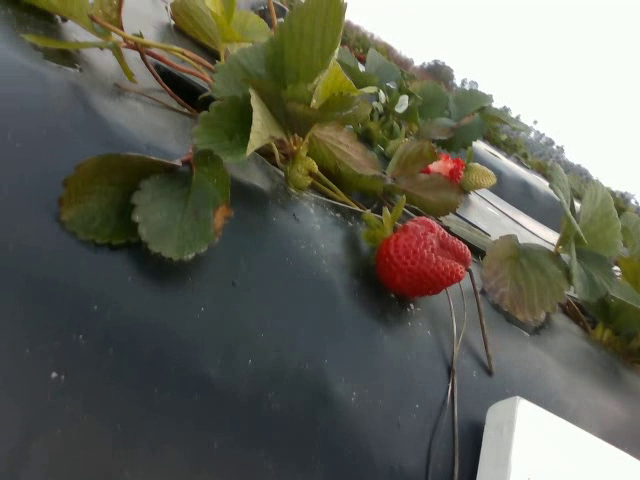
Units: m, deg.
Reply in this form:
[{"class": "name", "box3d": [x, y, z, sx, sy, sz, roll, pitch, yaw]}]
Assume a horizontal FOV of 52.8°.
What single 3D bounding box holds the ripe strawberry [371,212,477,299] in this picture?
[{"class": "ripe strawberry", "box3d": [0.015, 0.003, 0.086, 0.015, 0.014, 0.017, 16, 43, 37]}]
